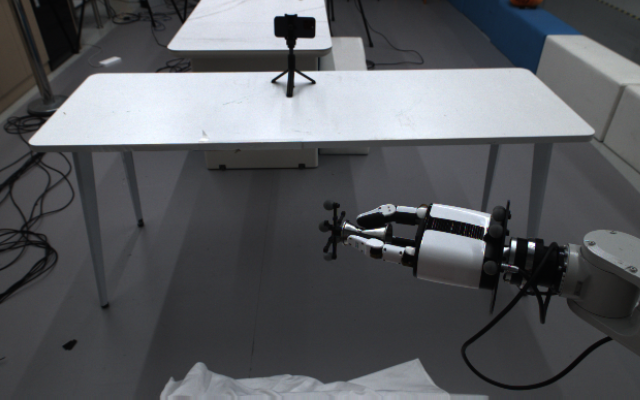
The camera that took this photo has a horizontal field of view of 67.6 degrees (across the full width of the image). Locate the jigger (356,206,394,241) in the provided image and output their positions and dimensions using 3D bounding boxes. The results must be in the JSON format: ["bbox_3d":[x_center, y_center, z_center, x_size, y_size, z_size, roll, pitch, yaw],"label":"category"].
[{"bbox_3d":[0.076,0.049,0.720,0.071,0.043,0.043,6,34,22],"label":"jigger"}]
